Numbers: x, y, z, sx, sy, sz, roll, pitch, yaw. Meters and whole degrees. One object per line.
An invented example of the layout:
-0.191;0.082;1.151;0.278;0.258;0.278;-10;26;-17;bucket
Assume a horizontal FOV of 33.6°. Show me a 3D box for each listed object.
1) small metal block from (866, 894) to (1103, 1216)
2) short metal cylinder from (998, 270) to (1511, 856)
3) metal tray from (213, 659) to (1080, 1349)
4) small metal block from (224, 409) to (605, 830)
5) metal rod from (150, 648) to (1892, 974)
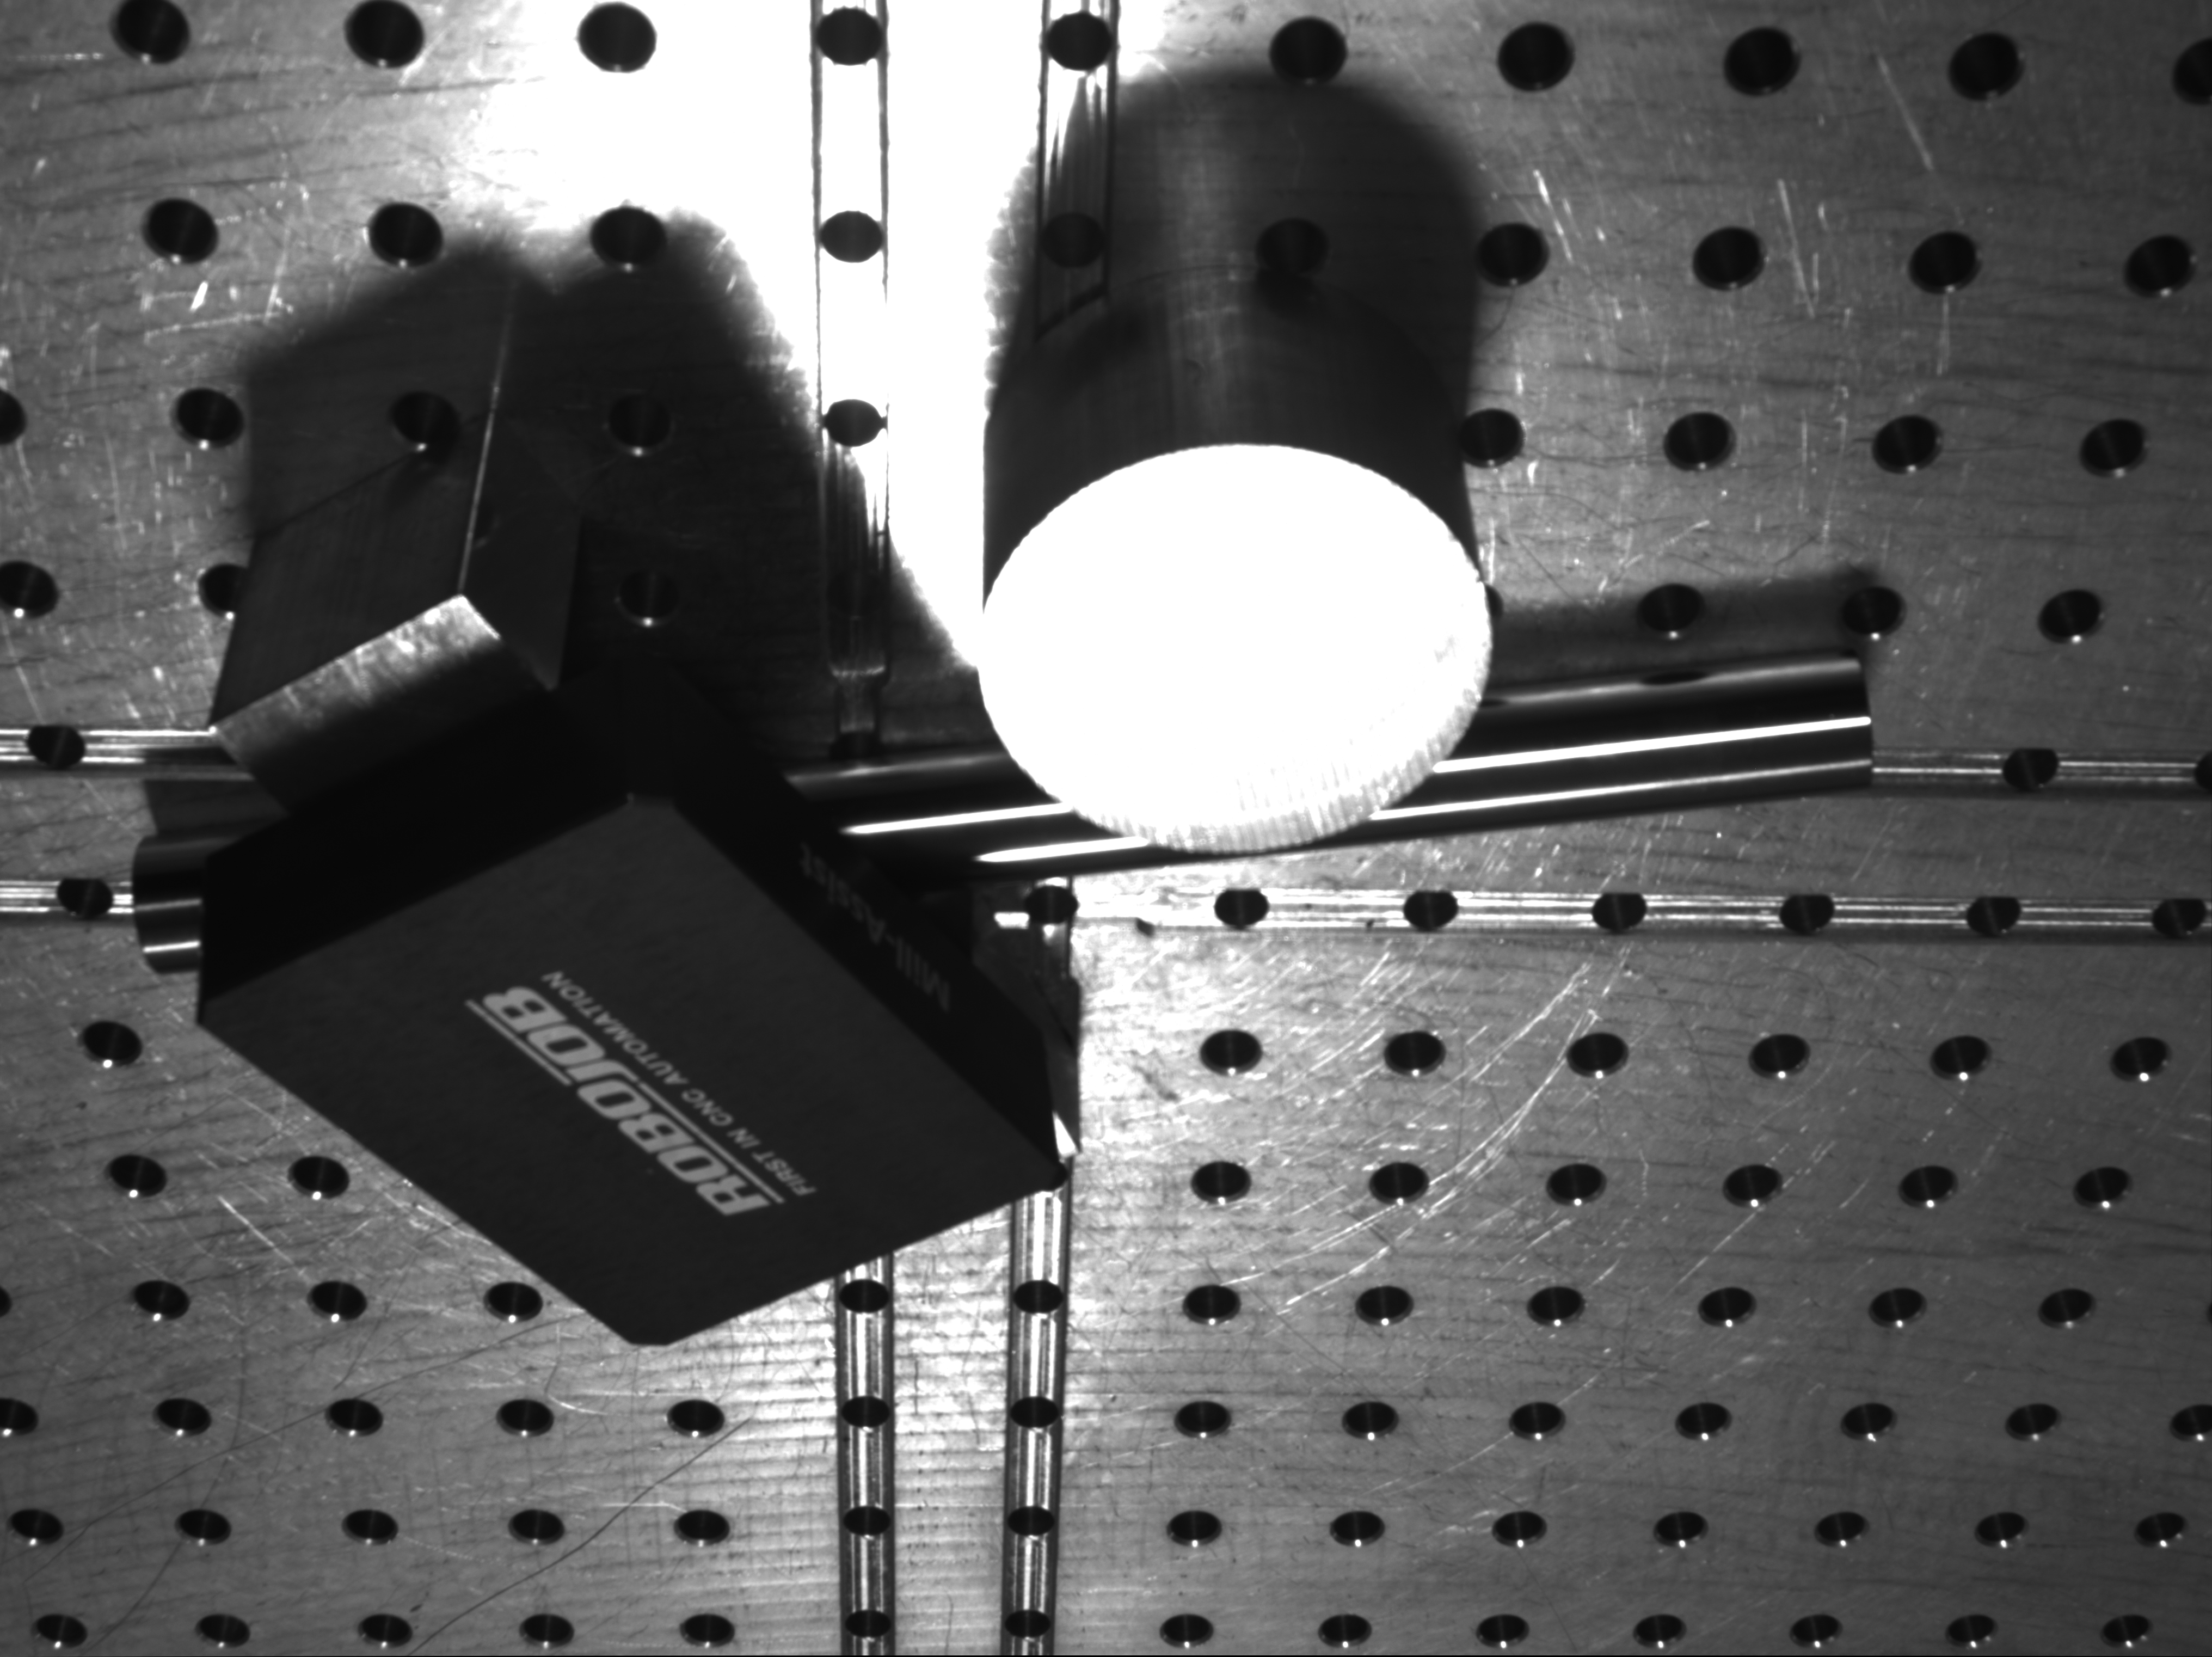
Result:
-0.033;0.043;0.675;0.050;0.025;0.050;-18;128;13;small metal block
0.023;-0.042;0.590;0.080;0.050;0.080;-1;130;-1;short metal cylinder
-0.074;0.034;0.614;0.090;0.030;0.130;-24;138;18;metal tray
-0.111;-0.034;0.592;0.050;0.050;0.025;-25;126;18;small metal block
-0.016;-0.003;0.639;0.300;0.025;0.025;-6;130;3;metal rod
